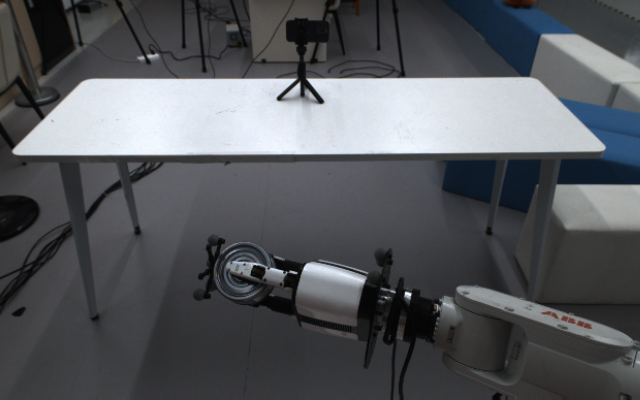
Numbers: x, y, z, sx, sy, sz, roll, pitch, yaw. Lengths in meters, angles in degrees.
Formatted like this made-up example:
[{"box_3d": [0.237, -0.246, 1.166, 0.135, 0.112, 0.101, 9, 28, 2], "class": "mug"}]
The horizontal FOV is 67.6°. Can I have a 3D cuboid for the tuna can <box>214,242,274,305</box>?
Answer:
[{"box_3d": [-0.103, 0.102, 0.680, 0.085, 0.034, 0.085, -2, 69, 6], "class": "tuna can"}]
